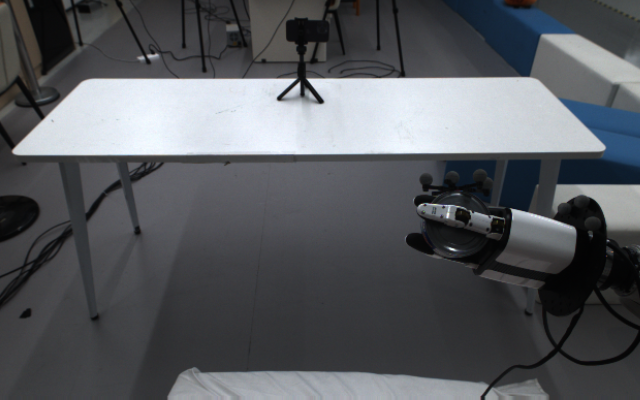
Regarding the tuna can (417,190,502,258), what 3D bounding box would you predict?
[{"bbox_3d":[0.178,0.030,0.630,0.085,0.034,0.085,0,75,1],"label":"tuna can"}]
